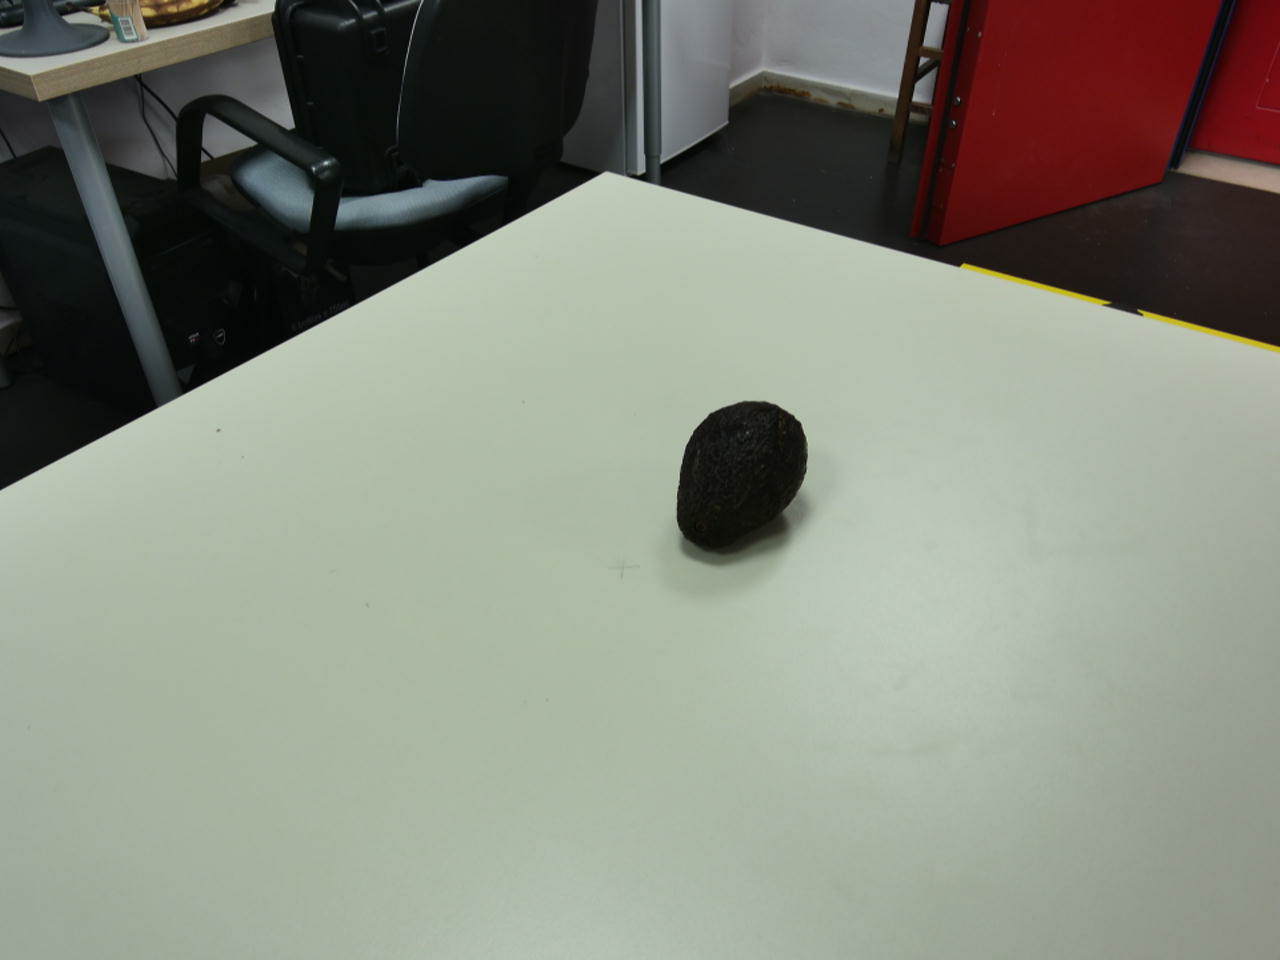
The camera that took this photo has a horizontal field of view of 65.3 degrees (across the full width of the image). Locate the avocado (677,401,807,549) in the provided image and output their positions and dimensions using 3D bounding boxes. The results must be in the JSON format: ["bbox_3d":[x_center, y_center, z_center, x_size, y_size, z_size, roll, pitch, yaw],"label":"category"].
[{"bbox_3d":[0.056,-0.008,0.581,0.090,0.069,0.070,-18,41,-21],"label":"avocado"}]
